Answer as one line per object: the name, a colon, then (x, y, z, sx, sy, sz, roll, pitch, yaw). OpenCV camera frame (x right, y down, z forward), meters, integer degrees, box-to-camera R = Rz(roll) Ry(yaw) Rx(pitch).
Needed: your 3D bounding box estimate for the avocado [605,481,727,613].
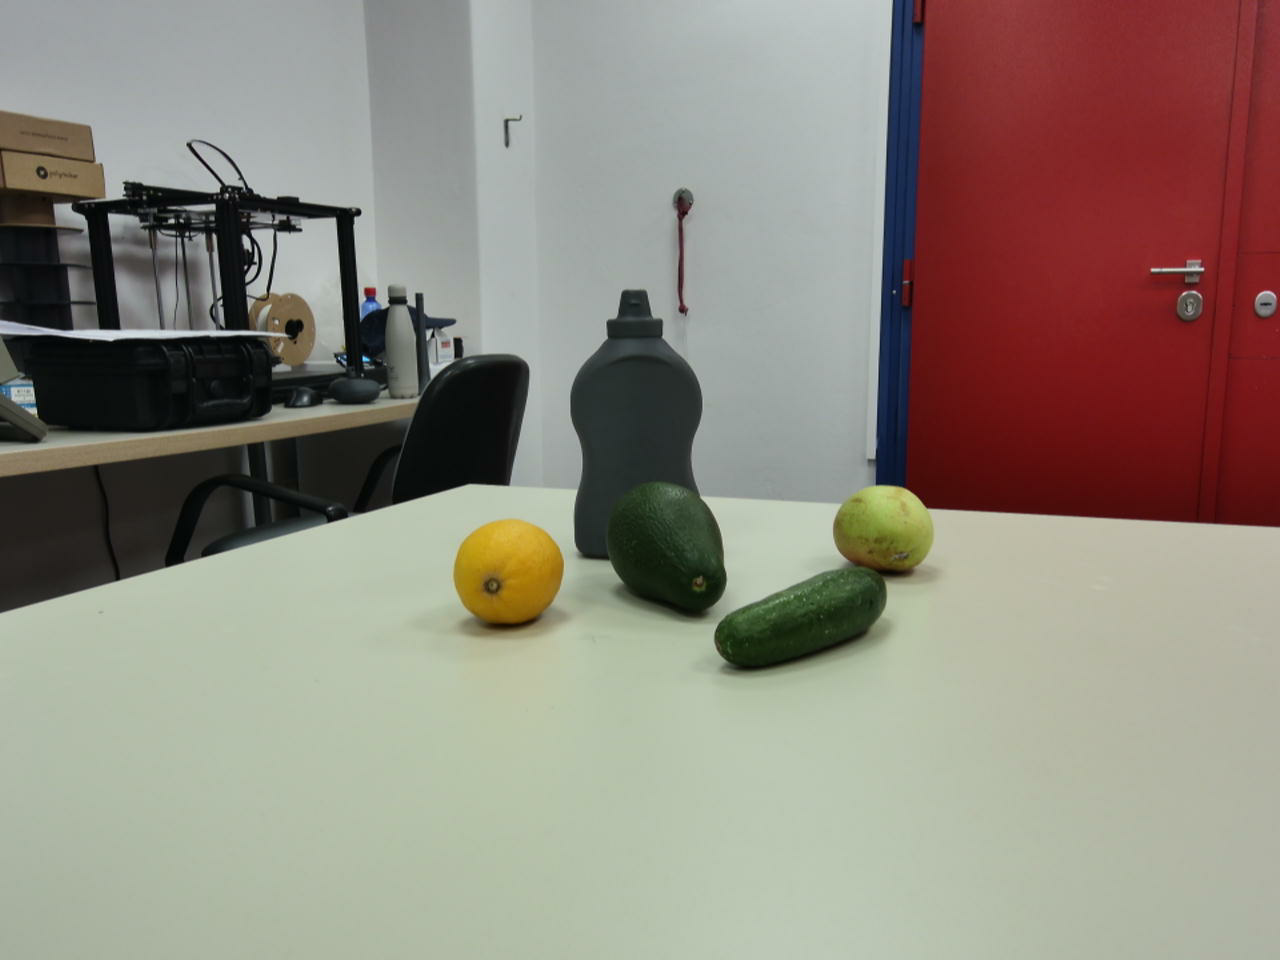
avocado: (0.015, 0.039, 0.609, 0.072, 0.071, 0.109, 0, 7, 0)
